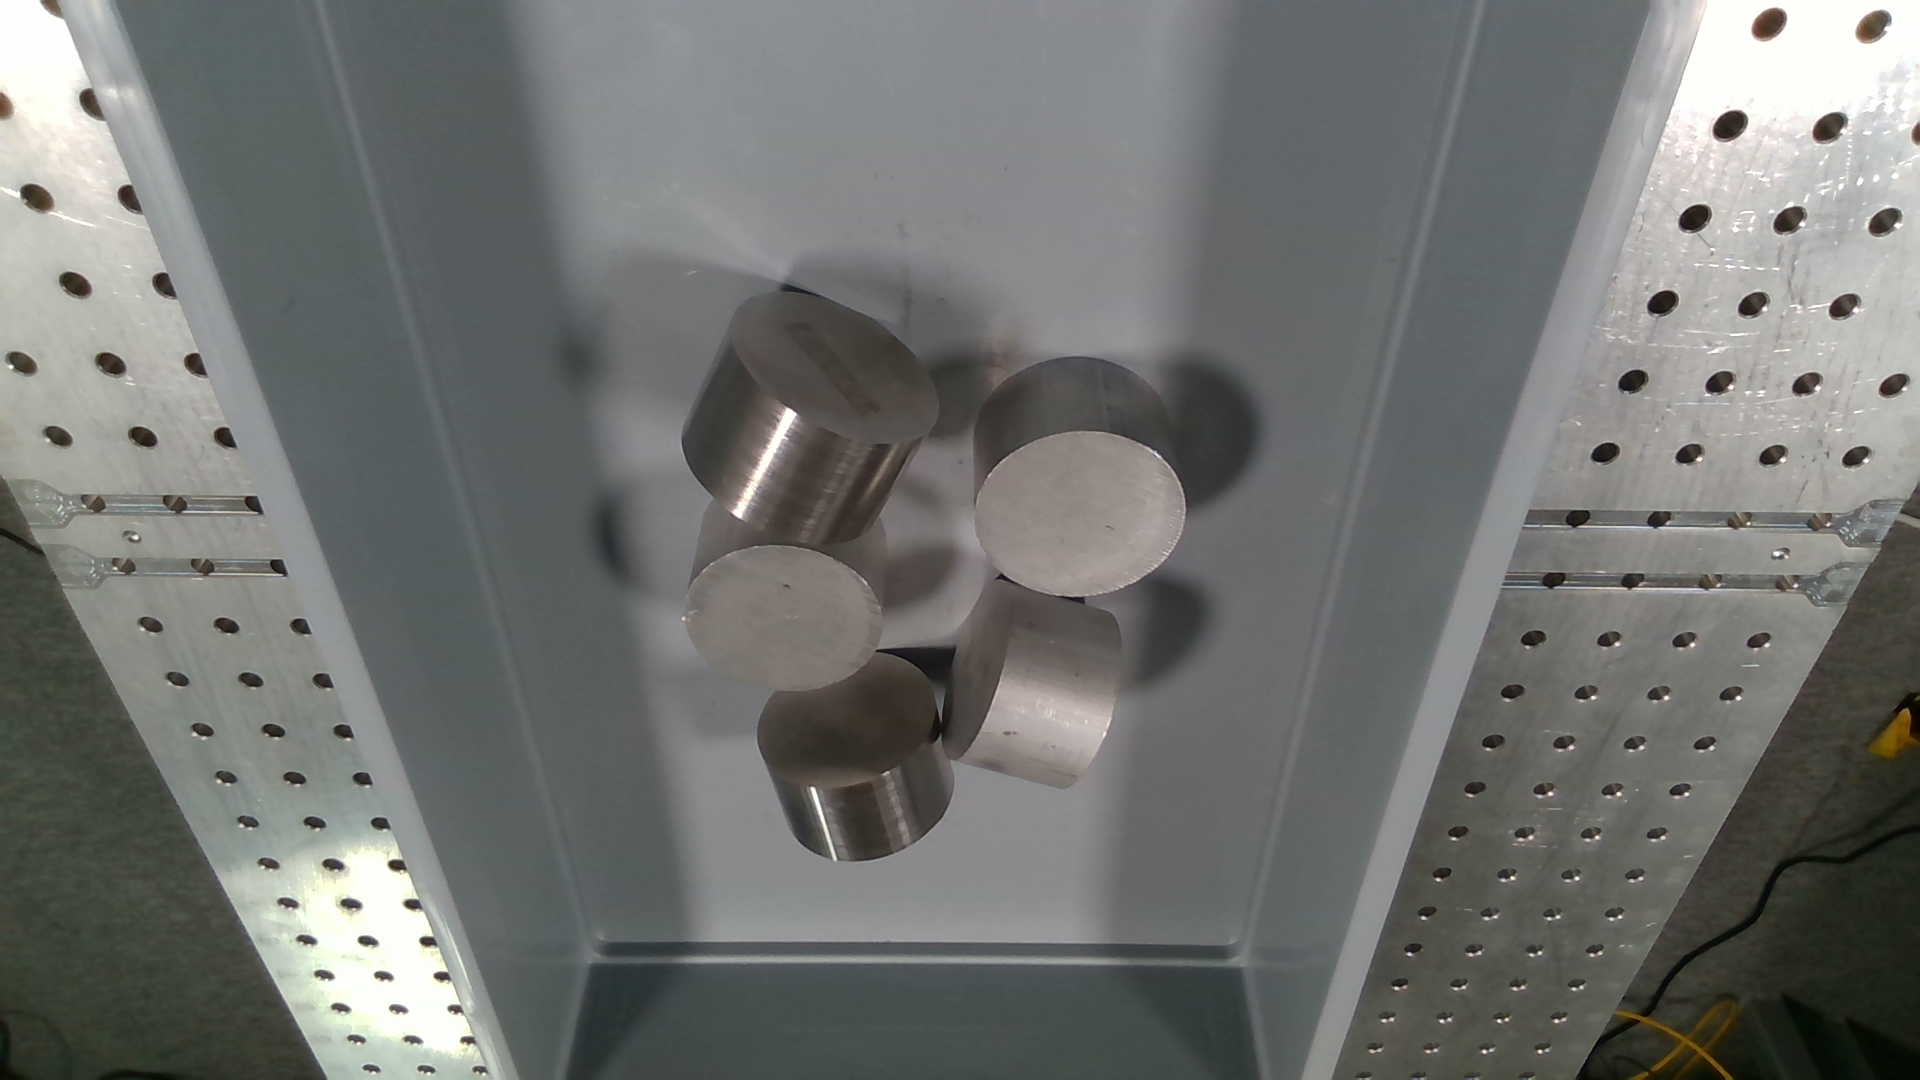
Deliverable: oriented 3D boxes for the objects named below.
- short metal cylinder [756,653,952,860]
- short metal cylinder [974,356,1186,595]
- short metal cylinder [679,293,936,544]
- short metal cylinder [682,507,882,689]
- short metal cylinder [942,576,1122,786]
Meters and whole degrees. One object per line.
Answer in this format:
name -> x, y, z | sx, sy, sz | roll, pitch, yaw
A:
short metal cylinder -> -0.047, 0.096, 0.623 | 0.080, 0.080, 0.050 | -7, 130, 6
short metal cylinder -> 0.045, -0.025, 0.540 | 0.080, 0.050, 0.080 | 0, 130, 0
short metal cylinder -> -0.056, -0.045, 0.503 | 0.080, 0.080, 0.050 | 21, 127, -17
short metal cylinder -> -0.072, 0.016, 0.575 | 0.080, 0.050, 0.080 | 0, 130, 0
short metal cylinder -> 0.030, 0.061, 0.595 | 0.050, 0.080, 0.080 | 17, 128, -14
